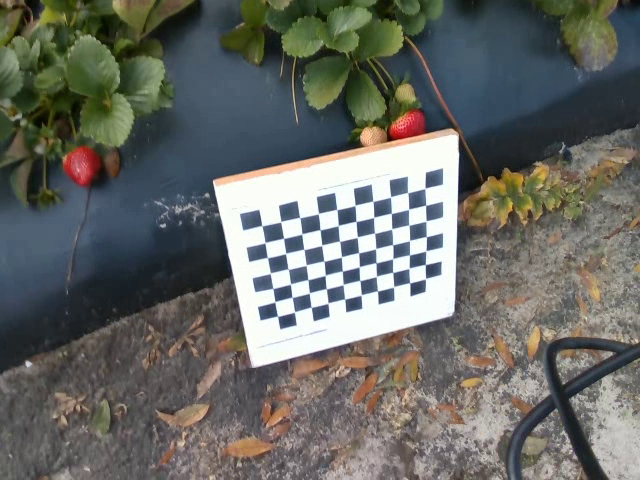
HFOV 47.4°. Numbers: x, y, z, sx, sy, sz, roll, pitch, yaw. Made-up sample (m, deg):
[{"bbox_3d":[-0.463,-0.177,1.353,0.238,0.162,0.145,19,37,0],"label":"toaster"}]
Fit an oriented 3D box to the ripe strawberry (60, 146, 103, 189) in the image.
[{"bbox_3d":[-0.284,-0.085,0.869,0.050,0.053,0.049,-21,-35,-7],"label":"ripe strawberry"}]
